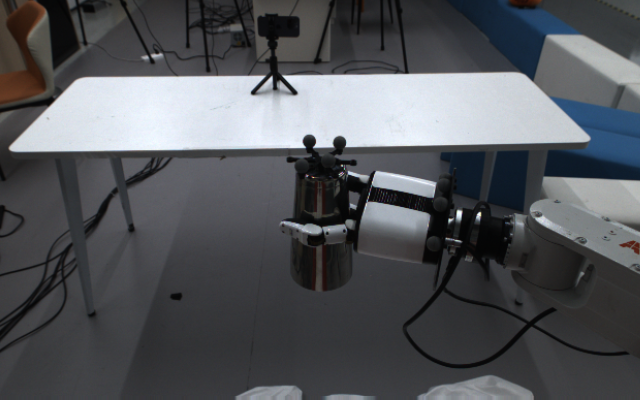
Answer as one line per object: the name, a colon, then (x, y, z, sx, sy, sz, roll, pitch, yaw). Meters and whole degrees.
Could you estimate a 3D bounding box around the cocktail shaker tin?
cocktail shaker tin: (0.003, 0.028, 0.661, 0.093, 0.170, 0.093, 0, 33, 0)
